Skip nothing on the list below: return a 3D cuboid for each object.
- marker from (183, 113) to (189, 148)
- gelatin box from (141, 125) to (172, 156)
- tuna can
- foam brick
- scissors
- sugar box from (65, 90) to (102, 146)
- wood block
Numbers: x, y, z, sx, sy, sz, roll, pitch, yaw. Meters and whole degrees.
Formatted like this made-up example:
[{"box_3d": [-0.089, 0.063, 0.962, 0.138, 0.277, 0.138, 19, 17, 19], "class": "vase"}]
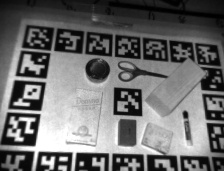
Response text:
[{"box_3d": [0.259, 0.157, 0.758, 0.020, 0.019, 0.121, 6, 71, -5], "class": "marker"}, {"box_3d": [0.150, 0.185, 0.727, 0.089, 0.030, 0.073, 22, 69, 1], "class": "gelatin box"}, {"box_3d": [-0.058, -0.048, 0.778, 0.086, 0.034, 0.085, 3, 70, -7], "class": "tuna can"}, {"box_3d": [0.048, 0.163, 0.705, 0.053, 0.051, 0.078, 6, 70, -5], "class": "foam brick"}, {"box_3d": [0.114, -0.038, 0.813, 0.203, 0.016, 0.087, 11, 69, -2], "class": "scissors"}, {"box_3d": [-0.091, 0.107, 0.715, 0.093, 0.045, 0.176, 9, 69, -5], "class": "sugar box"}, {"box_3d": [0.231, 0.018, 0.772, 0.207, 0.091, 0.089, -41, 78, -20], "class": "wood block"}]
